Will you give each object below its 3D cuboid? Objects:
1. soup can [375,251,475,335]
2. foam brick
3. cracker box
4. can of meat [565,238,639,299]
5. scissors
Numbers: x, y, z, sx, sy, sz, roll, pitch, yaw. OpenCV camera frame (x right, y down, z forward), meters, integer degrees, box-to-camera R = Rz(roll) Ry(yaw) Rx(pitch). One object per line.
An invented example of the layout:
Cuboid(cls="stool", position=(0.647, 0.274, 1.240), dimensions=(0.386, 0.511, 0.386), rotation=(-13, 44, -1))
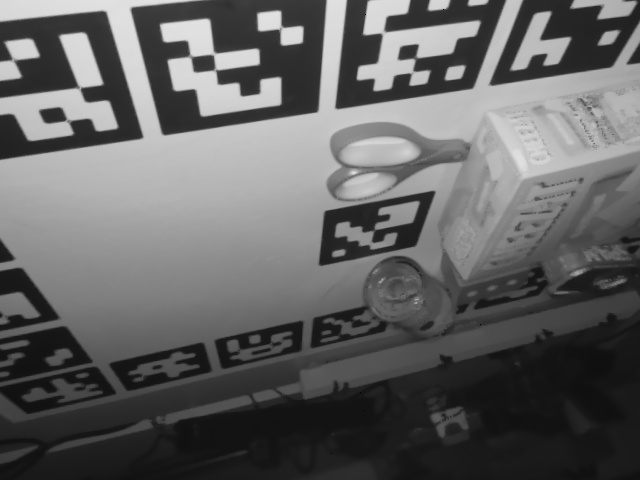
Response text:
Cuboid(cls="soup can", position=(0.111, 0.057, 0.714), dimensions=(0.067, 0.068, 0.103), rotation=(-32, 148, 21))
Cuboid(cls="foam brick", position=(0.191, 0.026, 0.707), dimensions=(0.078, 0.051, 0.052), rotation=(-16, 145, -1))
Cuboid(cls="cracker box", position=(0.243, -0.060, 0.562), dimensions=(0.215, 0.072, 0.163), rotation=(-16, 147, -8))
Cuboid(cls="can of meat", position=(0.289, 0.007, 0.688), dimensions=(0.103, 0.084, 0.057), rotation=(-1, 142, -21))
Cuboid(cls="scissors", position=(0.124, -0.085, 0.530), dimensions=(0.204, 0.016, 0.087), rotation=(-13, 145, -6))
